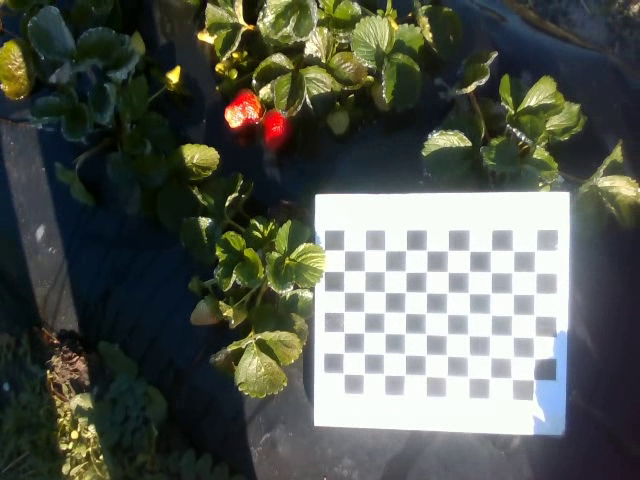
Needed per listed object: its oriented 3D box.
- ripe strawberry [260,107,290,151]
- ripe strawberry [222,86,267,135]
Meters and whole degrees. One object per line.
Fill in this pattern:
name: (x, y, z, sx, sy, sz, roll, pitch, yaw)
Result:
ripe strawberry: (-0.066, -0.161, 0.869, 0.043, 0.059, 0.040, 0, -4, 8)
ripe strawberry: (-0.112, -0.184, 0.885, 0.069, 0.053, 0.040, -44, 2, -1)
